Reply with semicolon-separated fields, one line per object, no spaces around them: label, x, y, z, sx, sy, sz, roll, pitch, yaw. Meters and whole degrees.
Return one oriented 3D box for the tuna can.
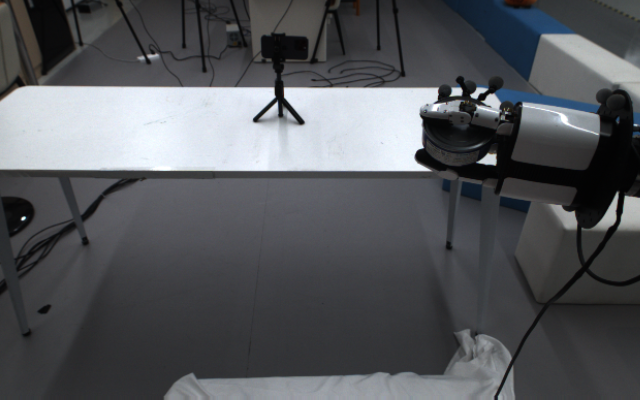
tuna can;0.168;-0.088;0.588;0.085;0.034;0.085;-4;54;6
